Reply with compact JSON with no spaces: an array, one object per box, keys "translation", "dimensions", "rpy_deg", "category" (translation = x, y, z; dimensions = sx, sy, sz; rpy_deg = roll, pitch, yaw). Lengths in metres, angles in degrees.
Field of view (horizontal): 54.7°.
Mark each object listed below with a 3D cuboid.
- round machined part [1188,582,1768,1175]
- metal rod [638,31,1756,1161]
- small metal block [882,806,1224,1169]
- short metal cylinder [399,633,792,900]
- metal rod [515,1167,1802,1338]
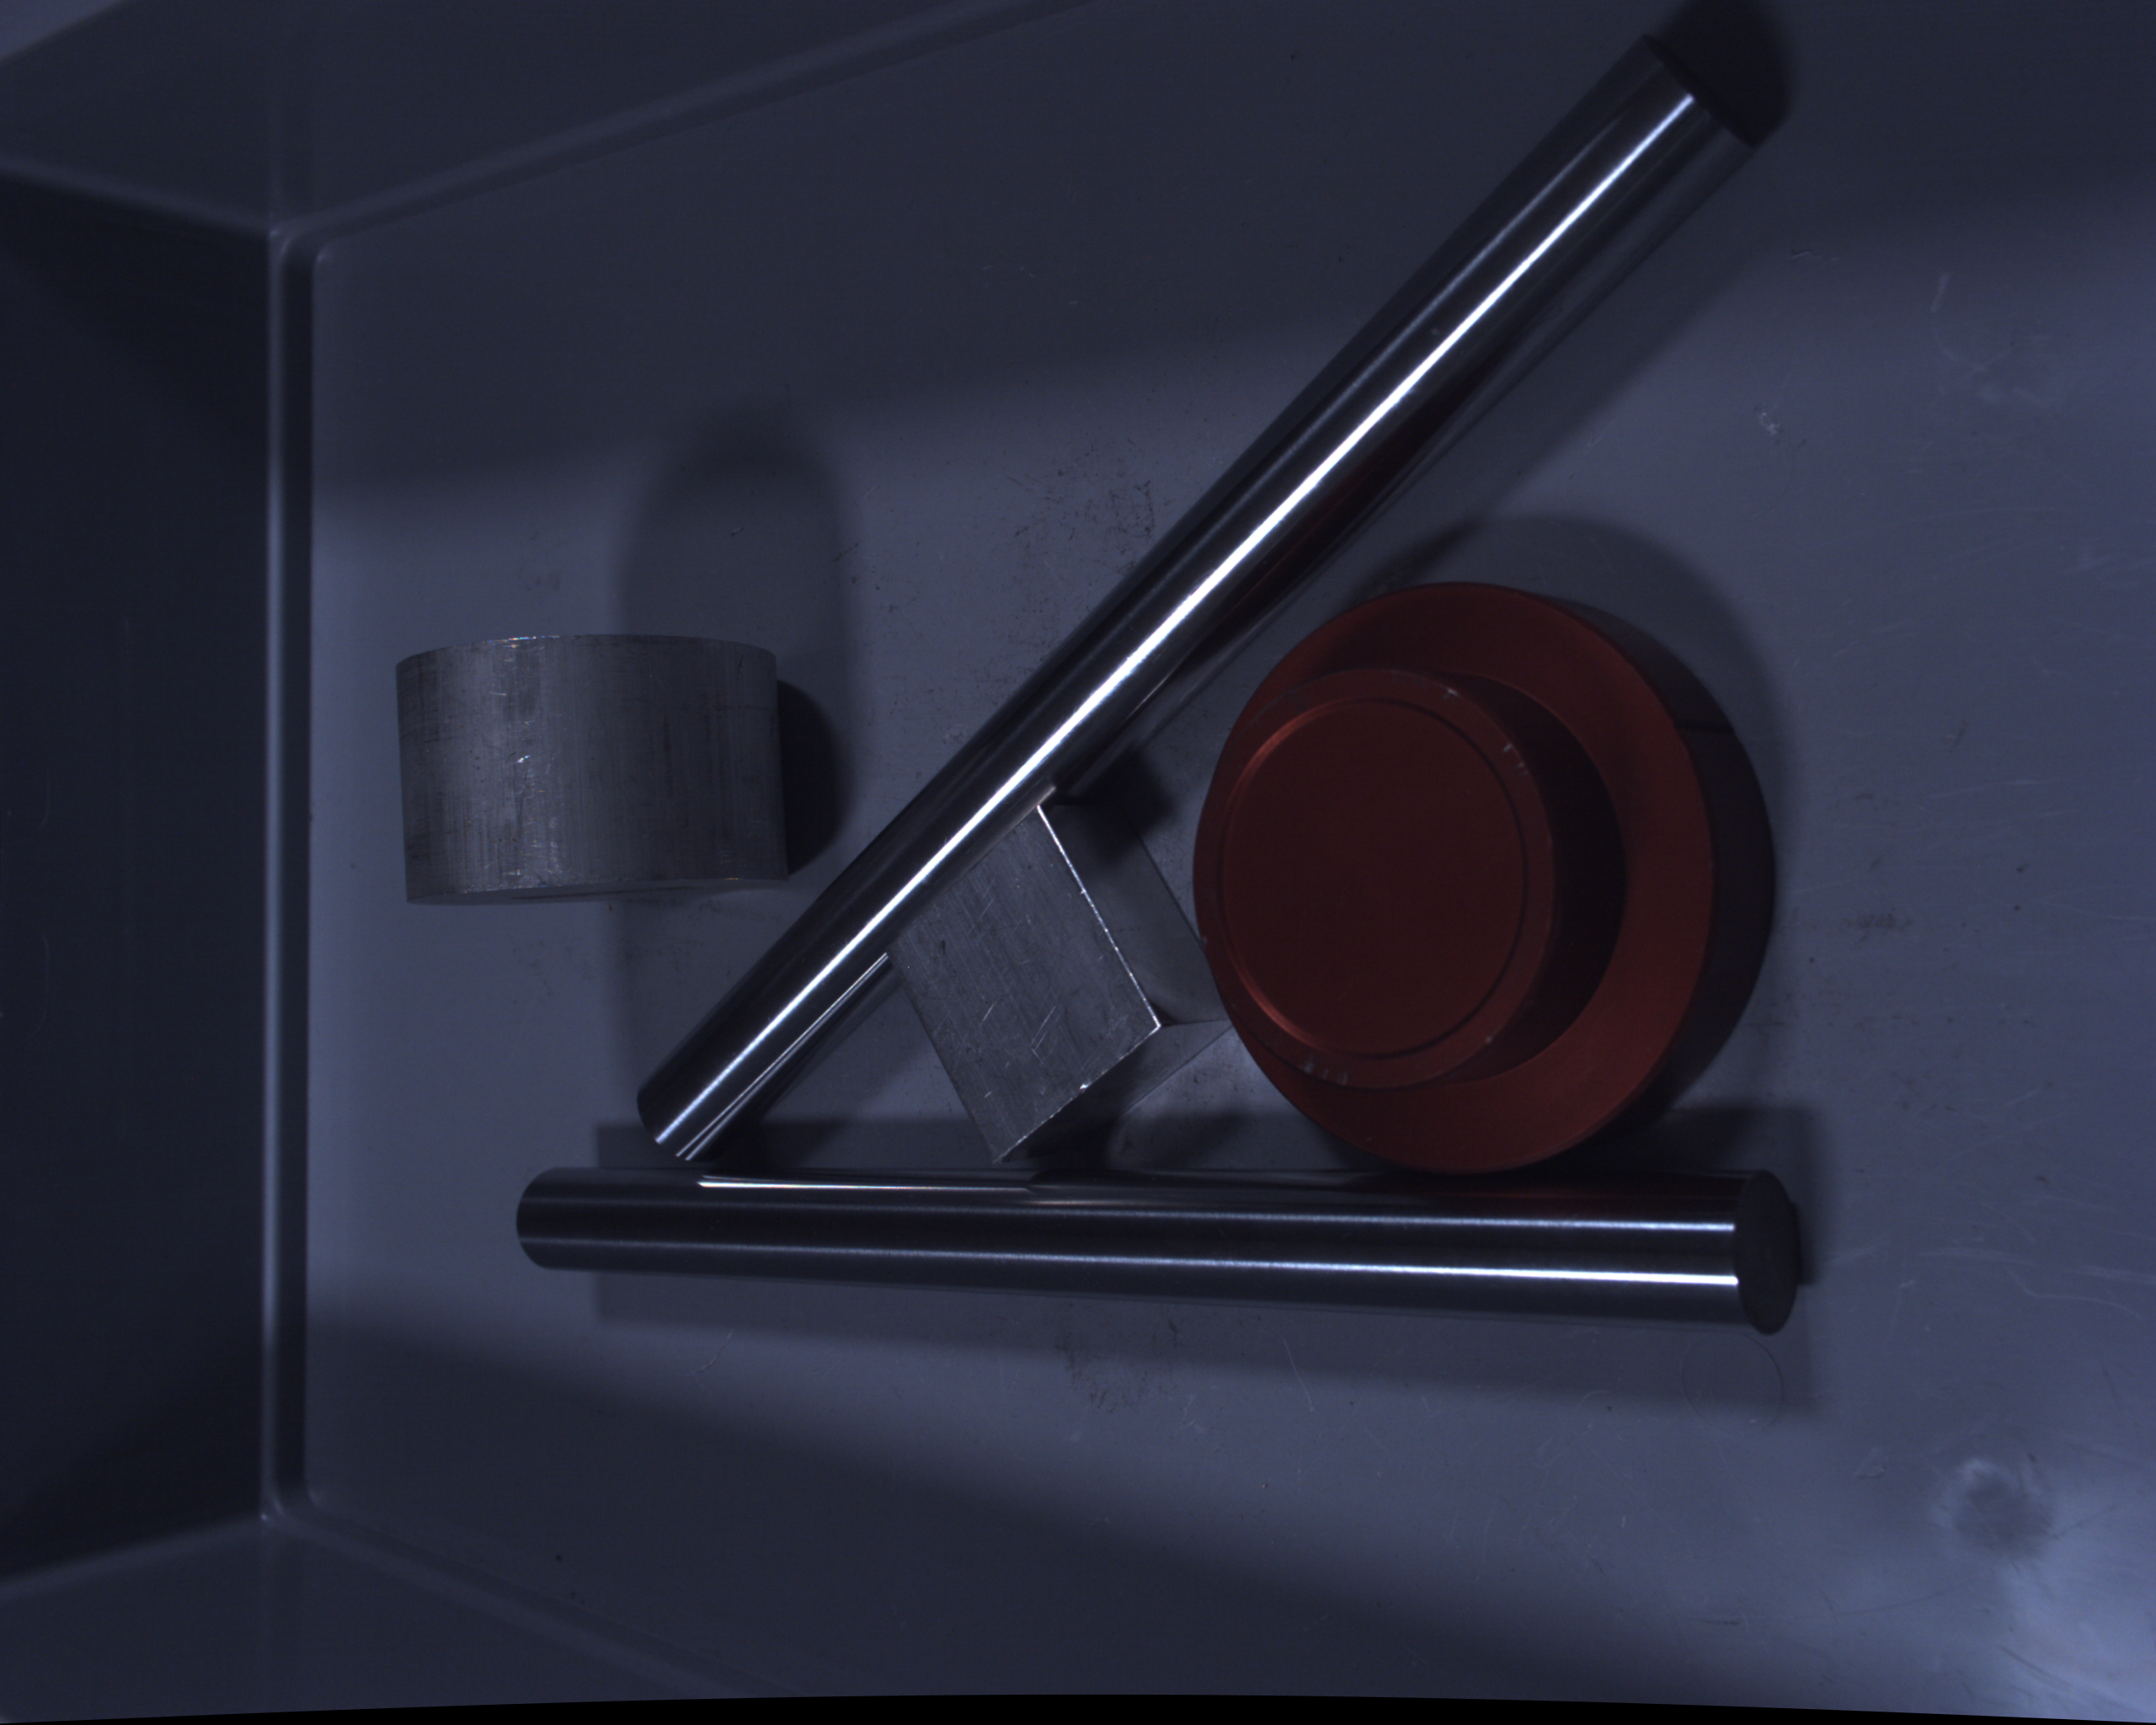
[{"translation":[0.058,0.003,0.343],"dimensions":[0.098,0.042,0.097],"rpy_deg":[0,90,39],"category":"round machined part"},{"translation":[0.004,-0.031,0.400],"dimensions":[0.299,0.025,0.025],"rpy_deg":[-44,64,31],"category":"metal rod"},{"translation":[-0.004,0.024,0.406],"dimensions":[0.050,0.025,0.050],"rpy_deg":[-43,65,31],"category":"small metal block"},{"translation":[-0.104,-0.018,0.453],"dimensions":[0.080,0.081,0.050],"rpy_deg":[-6,86,39],"category":"short metal cylinder"},{"translation":[-0.010,0.073,0.411],"dimensions":[0.300,0.025,0.025],"rpy_deg":[-7,86,39],"category":"metal rod"}]
